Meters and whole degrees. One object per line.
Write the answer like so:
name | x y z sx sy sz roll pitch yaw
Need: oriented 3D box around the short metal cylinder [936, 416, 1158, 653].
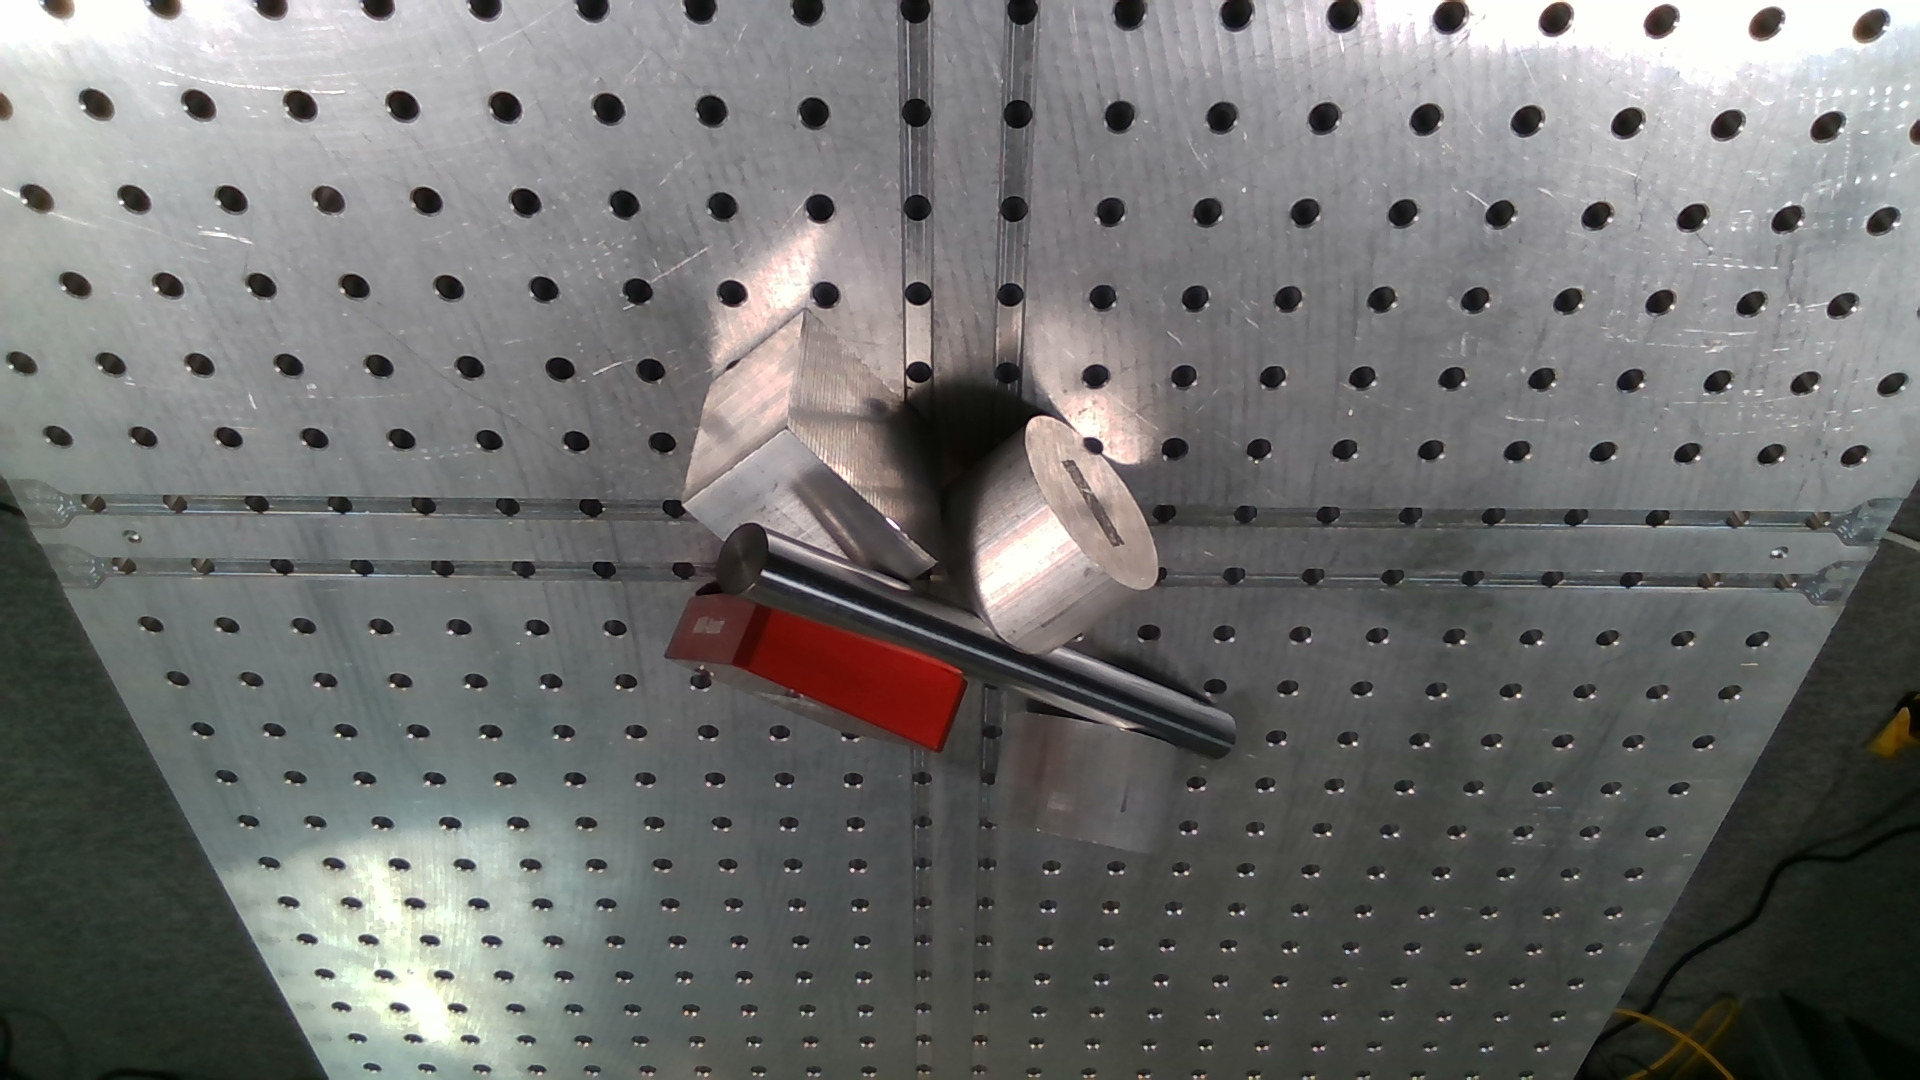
short metal cylinder | 0.034 -0.002 0.545 0.050 0.080 0.080 -36 121 26

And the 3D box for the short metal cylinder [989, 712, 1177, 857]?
short metal cylinder | 0.056 0.113 0.635 0.080 0.050 0.080 12 168 3

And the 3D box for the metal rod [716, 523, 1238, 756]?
metal rod | 0.026 0.050 0.554 0.025 0.025 0.301 -36 142 26

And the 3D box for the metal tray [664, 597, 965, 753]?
metal tray | -0.064 0.054 0.573 0.090 0.030 0.130 26 167 -20

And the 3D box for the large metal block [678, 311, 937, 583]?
large metal block | -0.054 -0.026 0.524 0.050 0.080 0.080 -32 123 24
